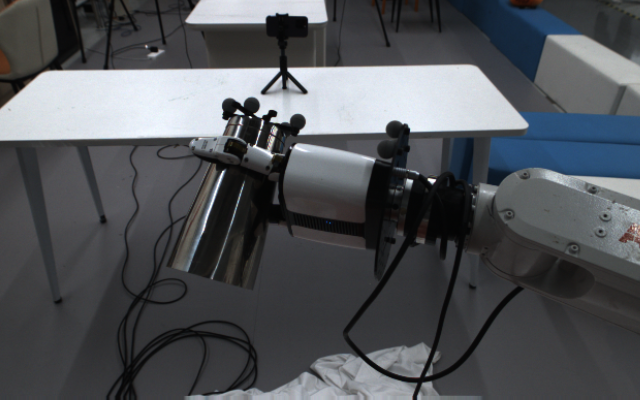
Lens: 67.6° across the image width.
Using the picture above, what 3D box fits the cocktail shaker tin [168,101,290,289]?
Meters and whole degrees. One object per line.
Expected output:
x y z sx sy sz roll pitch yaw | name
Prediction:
-0.088 -0.001 0.514 0.093 0.093 0.170 13 77 15 | cocktail shaker tin
